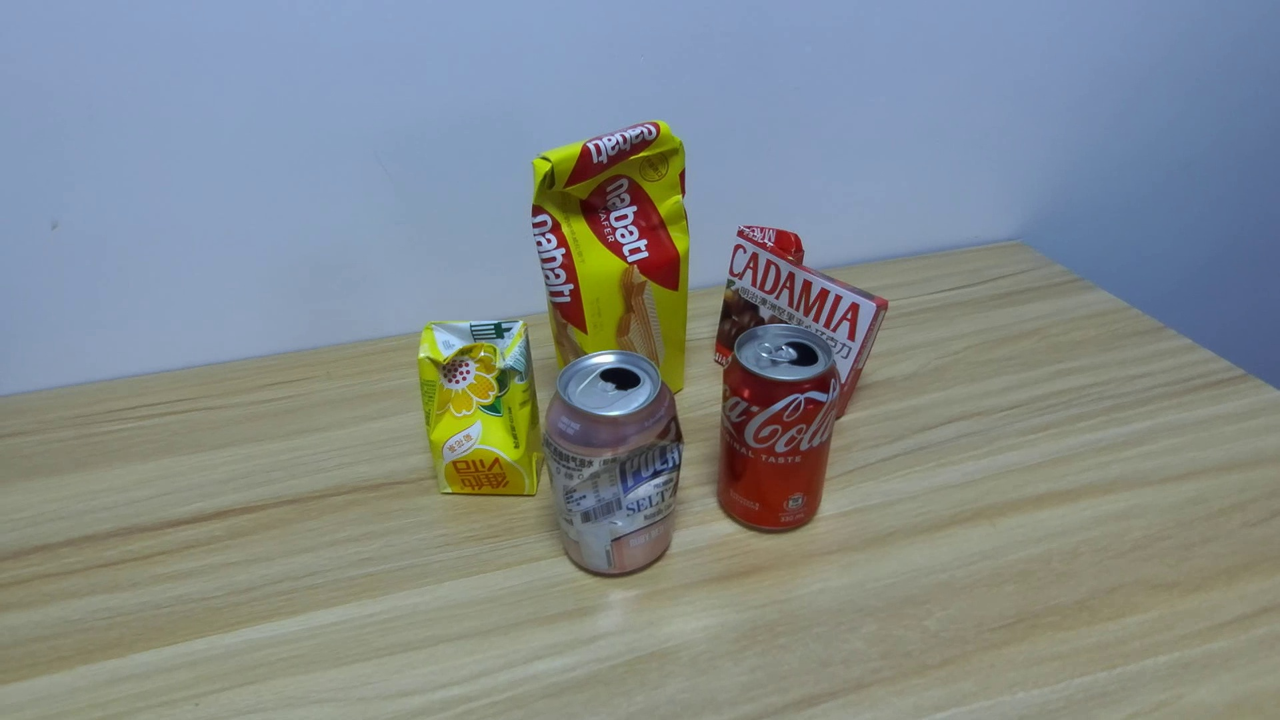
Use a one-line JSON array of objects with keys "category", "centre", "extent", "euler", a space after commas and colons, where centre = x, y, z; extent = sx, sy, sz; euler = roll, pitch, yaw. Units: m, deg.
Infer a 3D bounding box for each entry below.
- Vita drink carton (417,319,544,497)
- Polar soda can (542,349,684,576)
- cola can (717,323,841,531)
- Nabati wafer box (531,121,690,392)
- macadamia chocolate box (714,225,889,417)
[{"category": "Vita drink carton", "centre": [-0.102, 0.033, 0.454], "extent": [0.071, 0.110, 0.046], "euler": [0, 32, 4]}, {"category": "Polar soda can", "centre": [-0.012, 0.060, 0.396], "extent": [0.074, 0.122, 0.067], "euler": [1, 35, 5]}, {"category": "cola can", "centre": [0.081, 0.041, 0.422], "extent": [0.068, 0.120, 0.067], "euler": [-1, 34, 1]}, {"category": "Nabati wafer box", "centre": [-0.013, -0.049, 0.481], "extent": [0.113, 0.205, 0.042], "euler": [-31, 42, -34]}, {"category": "macadamia chocolate box", "centre": [0.116, -0.029, 0.527], "extent": [0.056, 0.112, 0.126], "euler": [-22, 39, -30]}]
